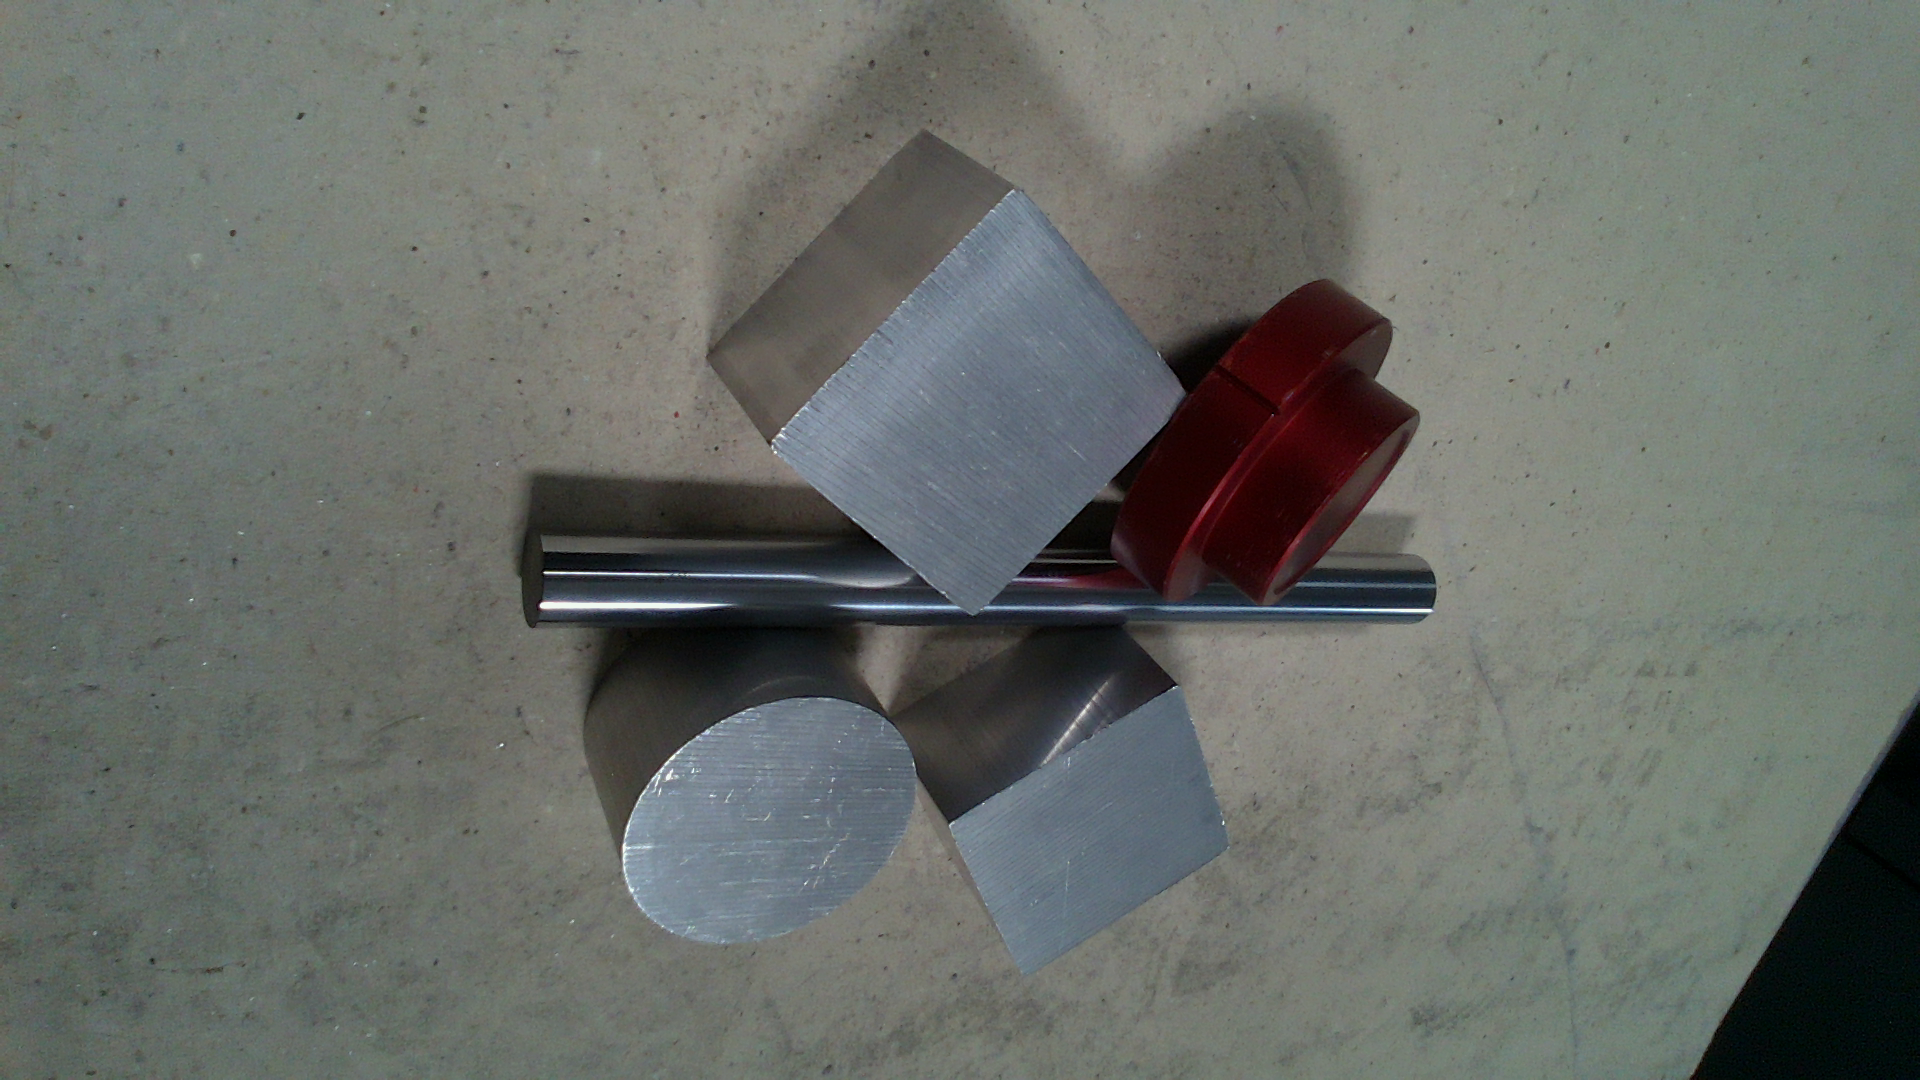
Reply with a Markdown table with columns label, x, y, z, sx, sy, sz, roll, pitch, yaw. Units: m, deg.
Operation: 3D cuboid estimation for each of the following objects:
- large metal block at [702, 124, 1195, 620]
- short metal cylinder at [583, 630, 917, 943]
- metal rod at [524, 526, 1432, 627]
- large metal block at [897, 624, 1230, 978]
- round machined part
| label | x | y | z | sx | sy | sz | roll | pitch | yaw |
| --- | --- | --- | --- | --- | --- | --- | --- | --- | --- |
| large metal block | -0.002 | -0.041 | 0.344 | 0.080 | 0.050 | 0.080 | -45 | 129 | 3 |
| short metal cylinder | -0.058 | 0.063 | 0.380 | 0.080 | 0.050 | 0.080 | -14 | 124 | -21 |
| metal rod | 0.026 | 0.013 | 0.412 | 0.301 | 0.025 | 0.025 | 2 | 118 | -29 |
| large metal block | 0.032 | 0.079 | 0.439 | 0.080 | 0.050 | 0.080 | -29 | 128 | -10 |
| round machined part | 0.090 | -0.020 | 0.384 | 0.098 | 0.042 | 0.098 | -41 | 158 | -20 |
